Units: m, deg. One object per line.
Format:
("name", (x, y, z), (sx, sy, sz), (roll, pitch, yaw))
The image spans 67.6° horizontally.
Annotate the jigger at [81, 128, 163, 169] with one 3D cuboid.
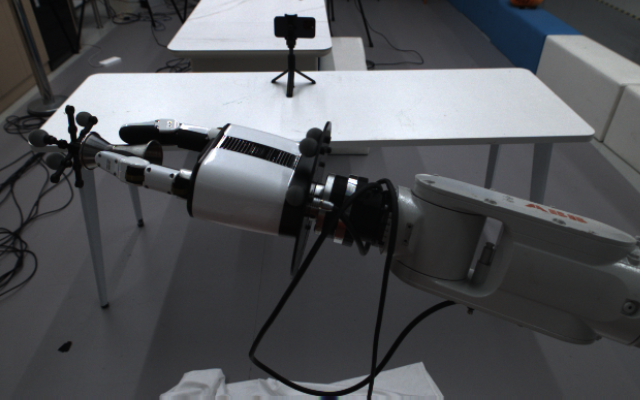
("jigger", (-0.196, -0.050, 0.496), (0.071, 0.043, 0.043), (8, 35, 5))
